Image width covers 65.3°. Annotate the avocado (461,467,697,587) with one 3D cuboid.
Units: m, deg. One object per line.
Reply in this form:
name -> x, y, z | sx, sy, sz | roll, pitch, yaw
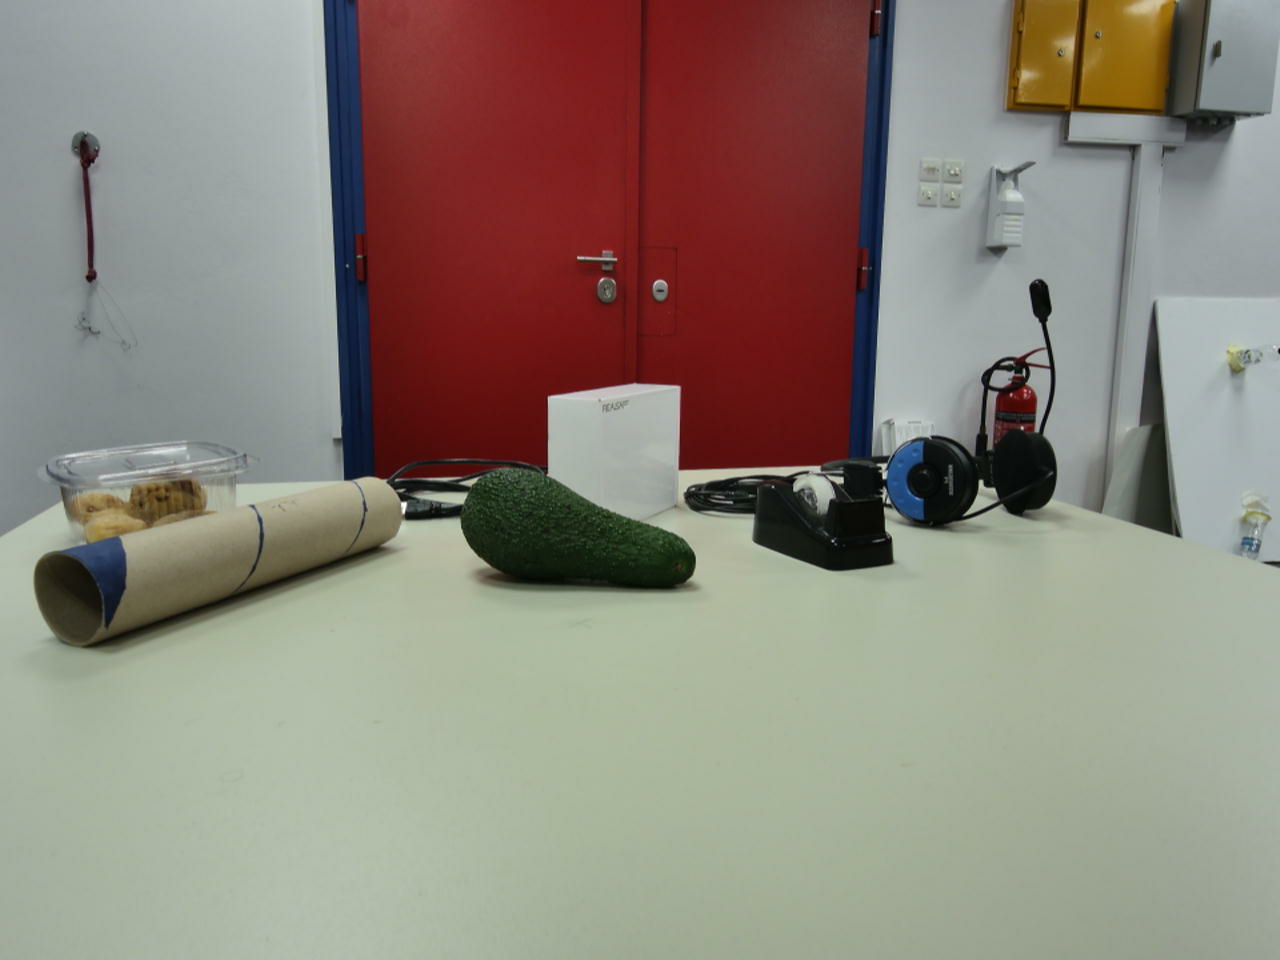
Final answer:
avocado -> -0.036, 0.026, 0.588 | 0.141, 0.067, 0.063 | 0, 8, 2
